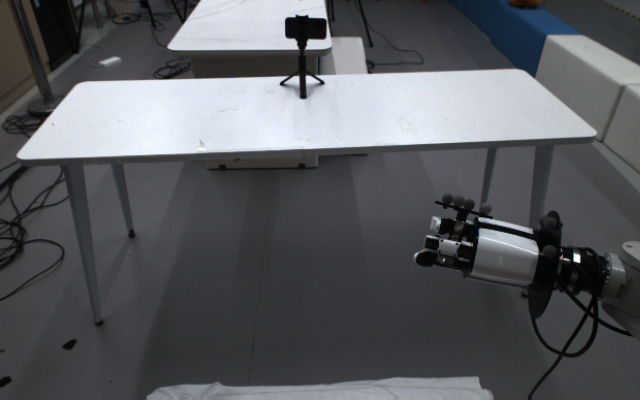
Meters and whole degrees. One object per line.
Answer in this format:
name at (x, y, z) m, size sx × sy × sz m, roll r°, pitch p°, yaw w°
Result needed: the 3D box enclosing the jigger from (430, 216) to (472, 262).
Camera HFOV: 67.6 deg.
jigger at (0.204, 0.063, 0.733) m, size 0.043 × 0.071 × 0.043 m, roll 17°, pitch 2°, yaw -1°
